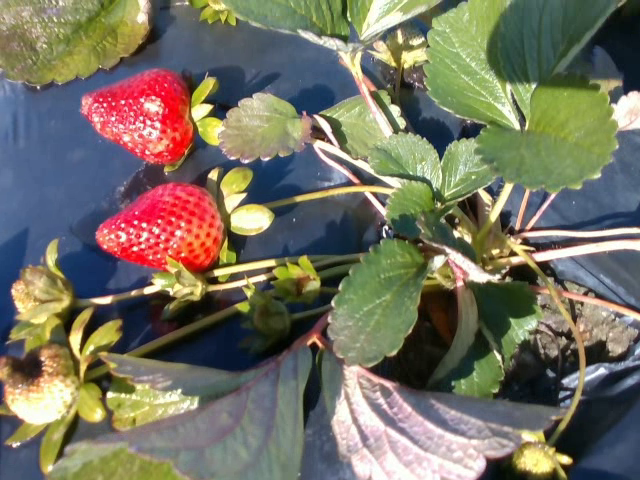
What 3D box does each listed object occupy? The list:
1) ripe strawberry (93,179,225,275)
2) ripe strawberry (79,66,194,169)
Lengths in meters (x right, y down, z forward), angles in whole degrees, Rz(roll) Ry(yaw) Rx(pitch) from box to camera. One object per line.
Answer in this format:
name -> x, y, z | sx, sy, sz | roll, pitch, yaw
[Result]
ripe strawberry -> -0.058, -0.003, 0.215 | 0.049, 0.039, 0.042 | -6, 10, -38
ripe strawberry -> -0.079, -0.056, 0.261 | 0.050, 0.051, 0.045 | 12, -31, -22
